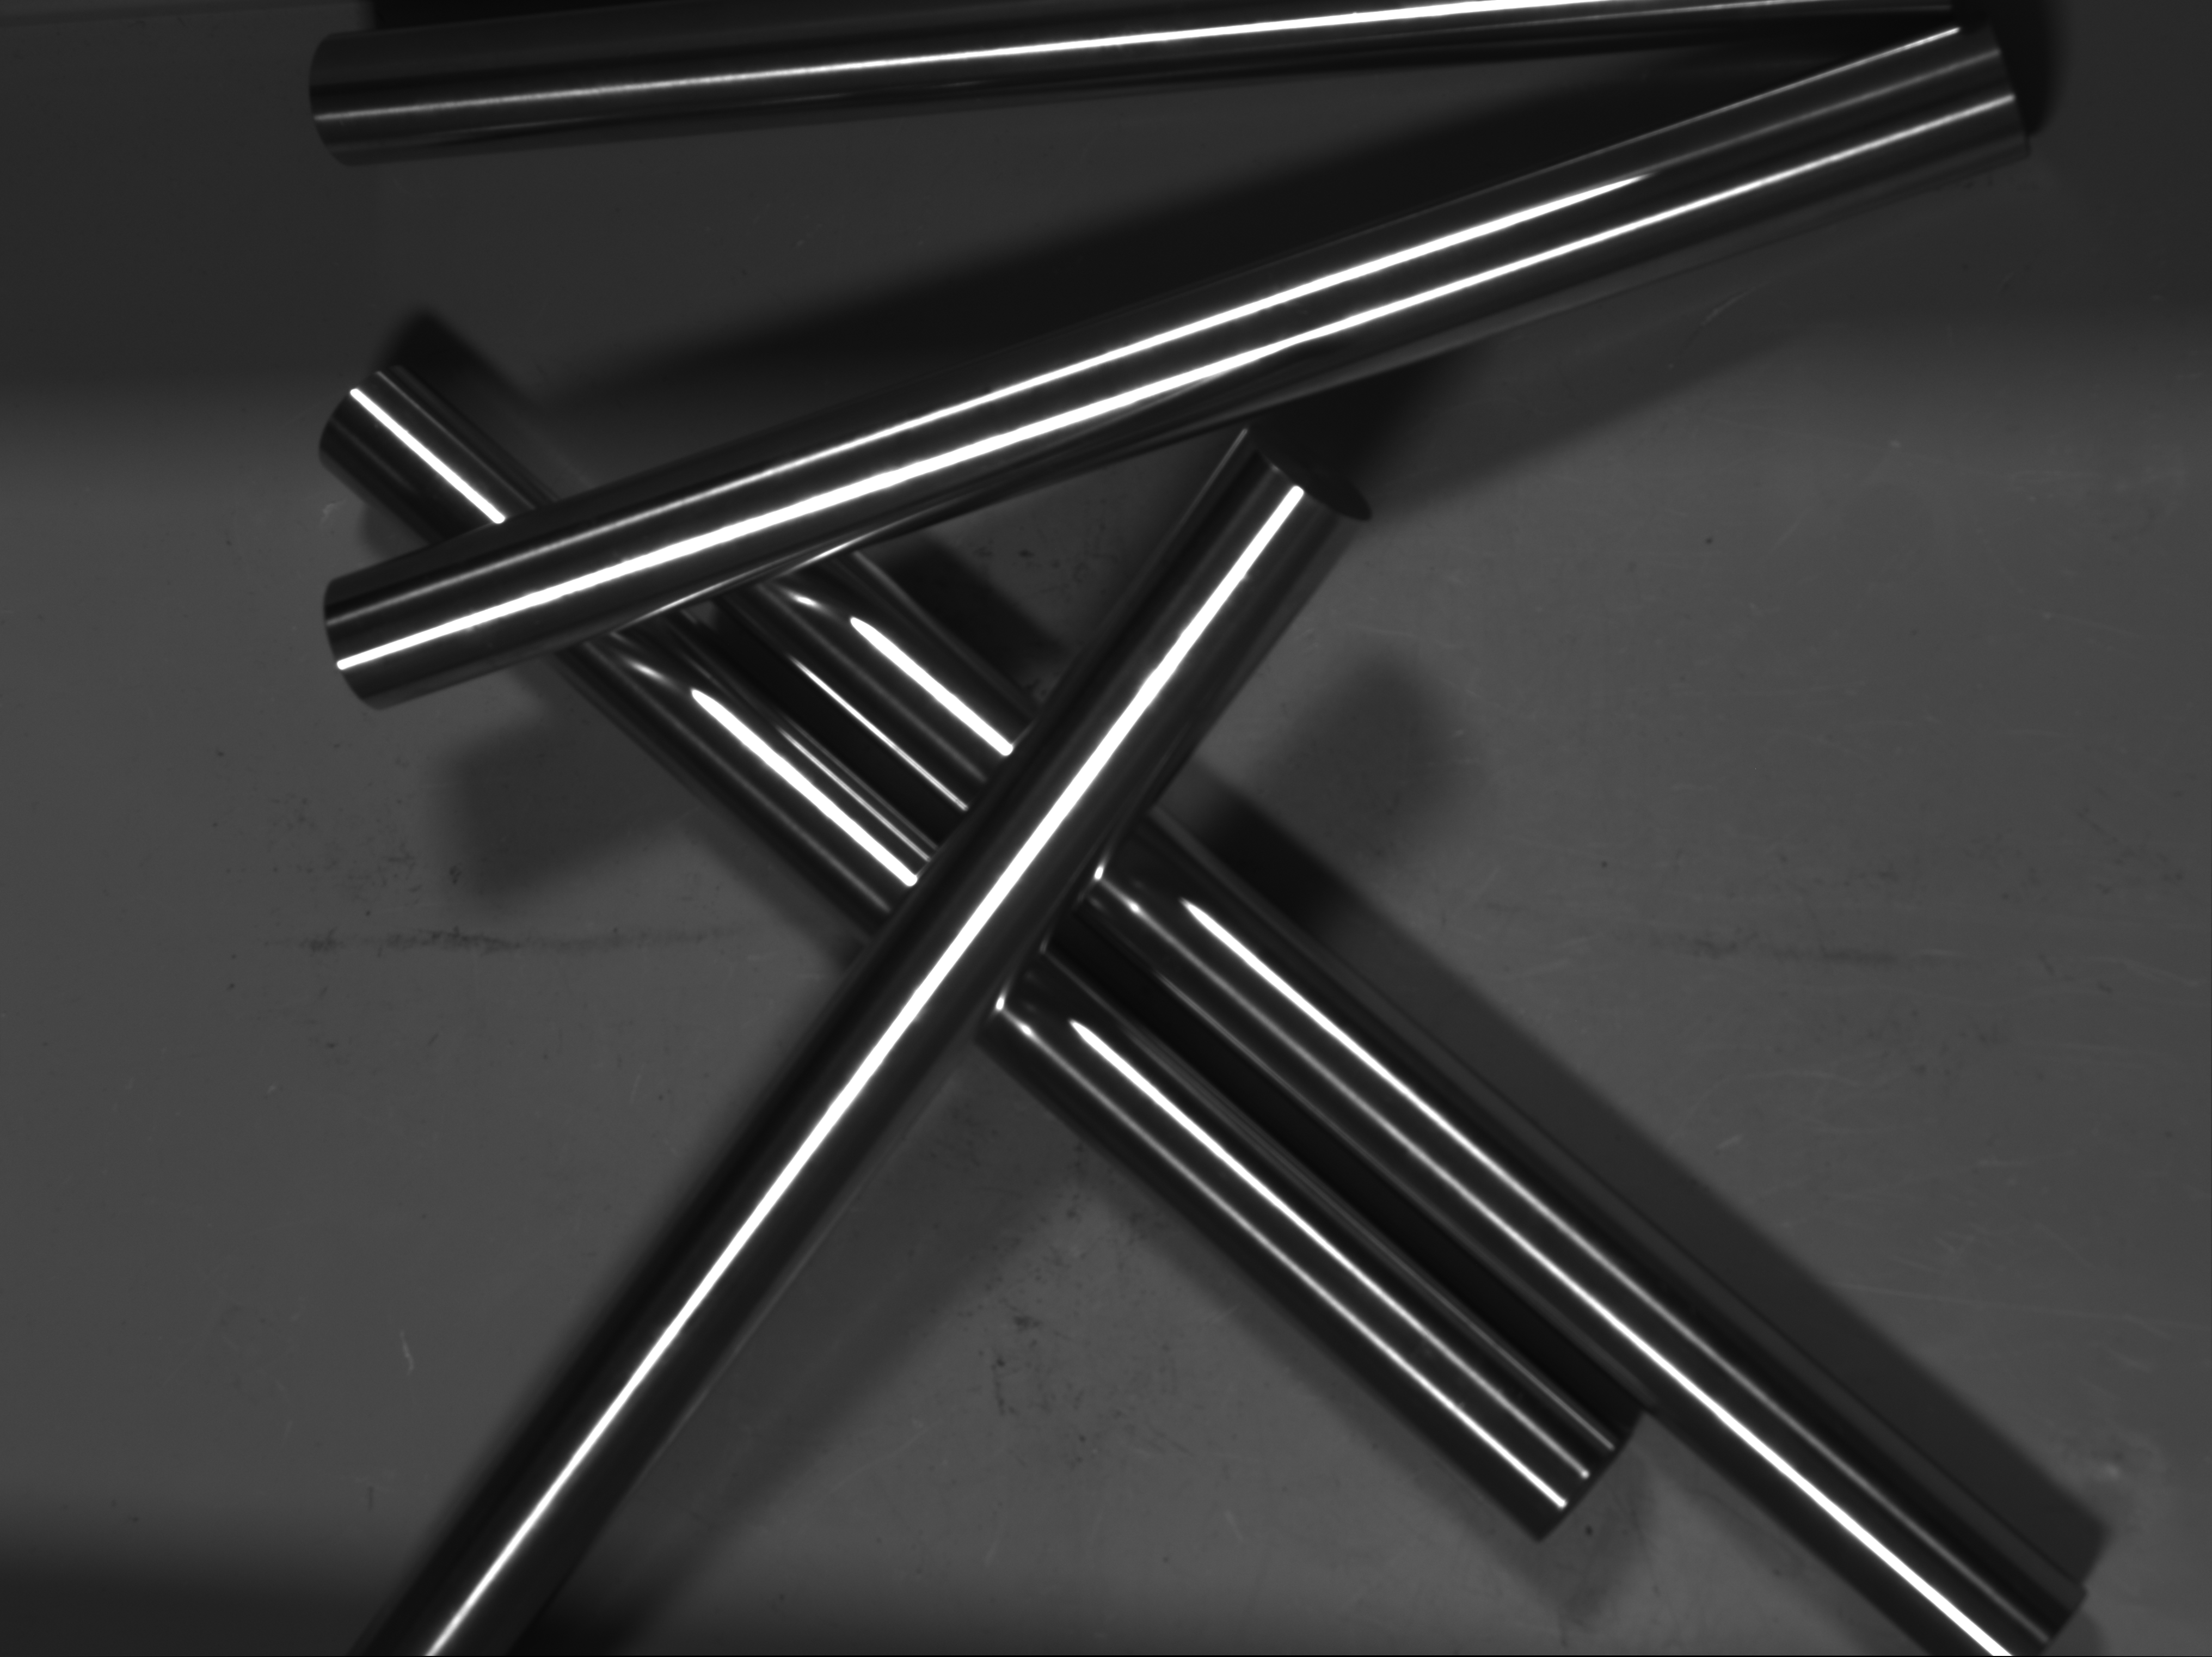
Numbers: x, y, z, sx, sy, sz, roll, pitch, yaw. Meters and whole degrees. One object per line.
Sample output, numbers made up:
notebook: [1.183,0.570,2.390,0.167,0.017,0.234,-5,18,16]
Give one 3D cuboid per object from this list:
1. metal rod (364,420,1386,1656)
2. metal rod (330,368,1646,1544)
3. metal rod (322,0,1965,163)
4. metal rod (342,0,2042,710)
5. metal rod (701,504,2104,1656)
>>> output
metal rod: [-0.049,0.055,0.640,0.025,0.025,0.300,42,111,15]
metal rod: [-0.027,0.017,0.654,0.300,0.025,0.025,40,103,15]
metal rod: [-0.001,-0.141,0.645,0.299,0.025,0.025,-1,90,20]
metal rod: [0.008,-0.079,0.625,0.300,0.025,0.025,-18,84,13]
metal rod: [0.043,0.039,0.629,0.300,0.025,0.025,40,103,15]
